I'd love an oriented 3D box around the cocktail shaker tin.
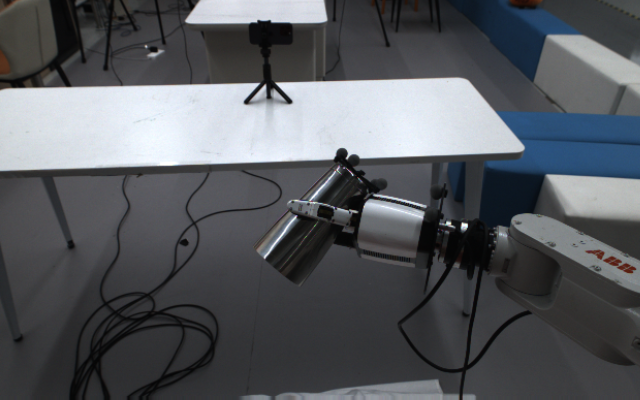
[{"bbox_3d":[-0.006,0.027,0.708,0.170,0.093,0.093,-48,49,-2],"label":"cocktail shaker tin"}]
